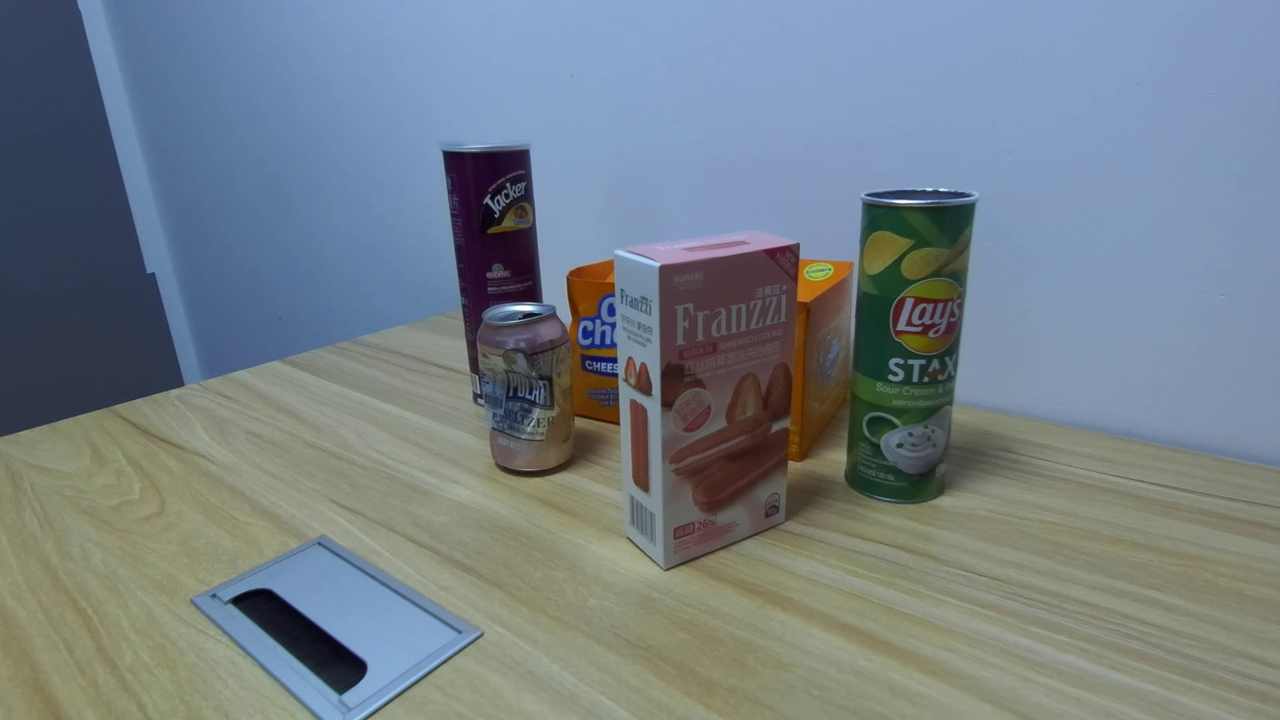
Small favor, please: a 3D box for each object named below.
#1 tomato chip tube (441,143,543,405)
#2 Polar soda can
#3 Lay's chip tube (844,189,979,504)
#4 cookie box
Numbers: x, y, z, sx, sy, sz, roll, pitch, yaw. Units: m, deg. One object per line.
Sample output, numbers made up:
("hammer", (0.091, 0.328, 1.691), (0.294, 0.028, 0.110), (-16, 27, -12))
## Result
("tomato chip tube", (-0.130, -0.074, 0.654), (0.078, 0.234, 0.078), (-2, 14, 1))
("Polar soda can", (-0.087, 0.022, 0.541), (0.067, 0.122, 0.074), (-7, 18, -10))
("Lay's chip tube", (0.177, -0.009, 0.470), (0.071, 0.202, 0.071), (-2, 20, 1))
("cookie box", (0.041, 0.024, 0.422), (0.096, 0.184, 0.048), (-13, 23, -28))
